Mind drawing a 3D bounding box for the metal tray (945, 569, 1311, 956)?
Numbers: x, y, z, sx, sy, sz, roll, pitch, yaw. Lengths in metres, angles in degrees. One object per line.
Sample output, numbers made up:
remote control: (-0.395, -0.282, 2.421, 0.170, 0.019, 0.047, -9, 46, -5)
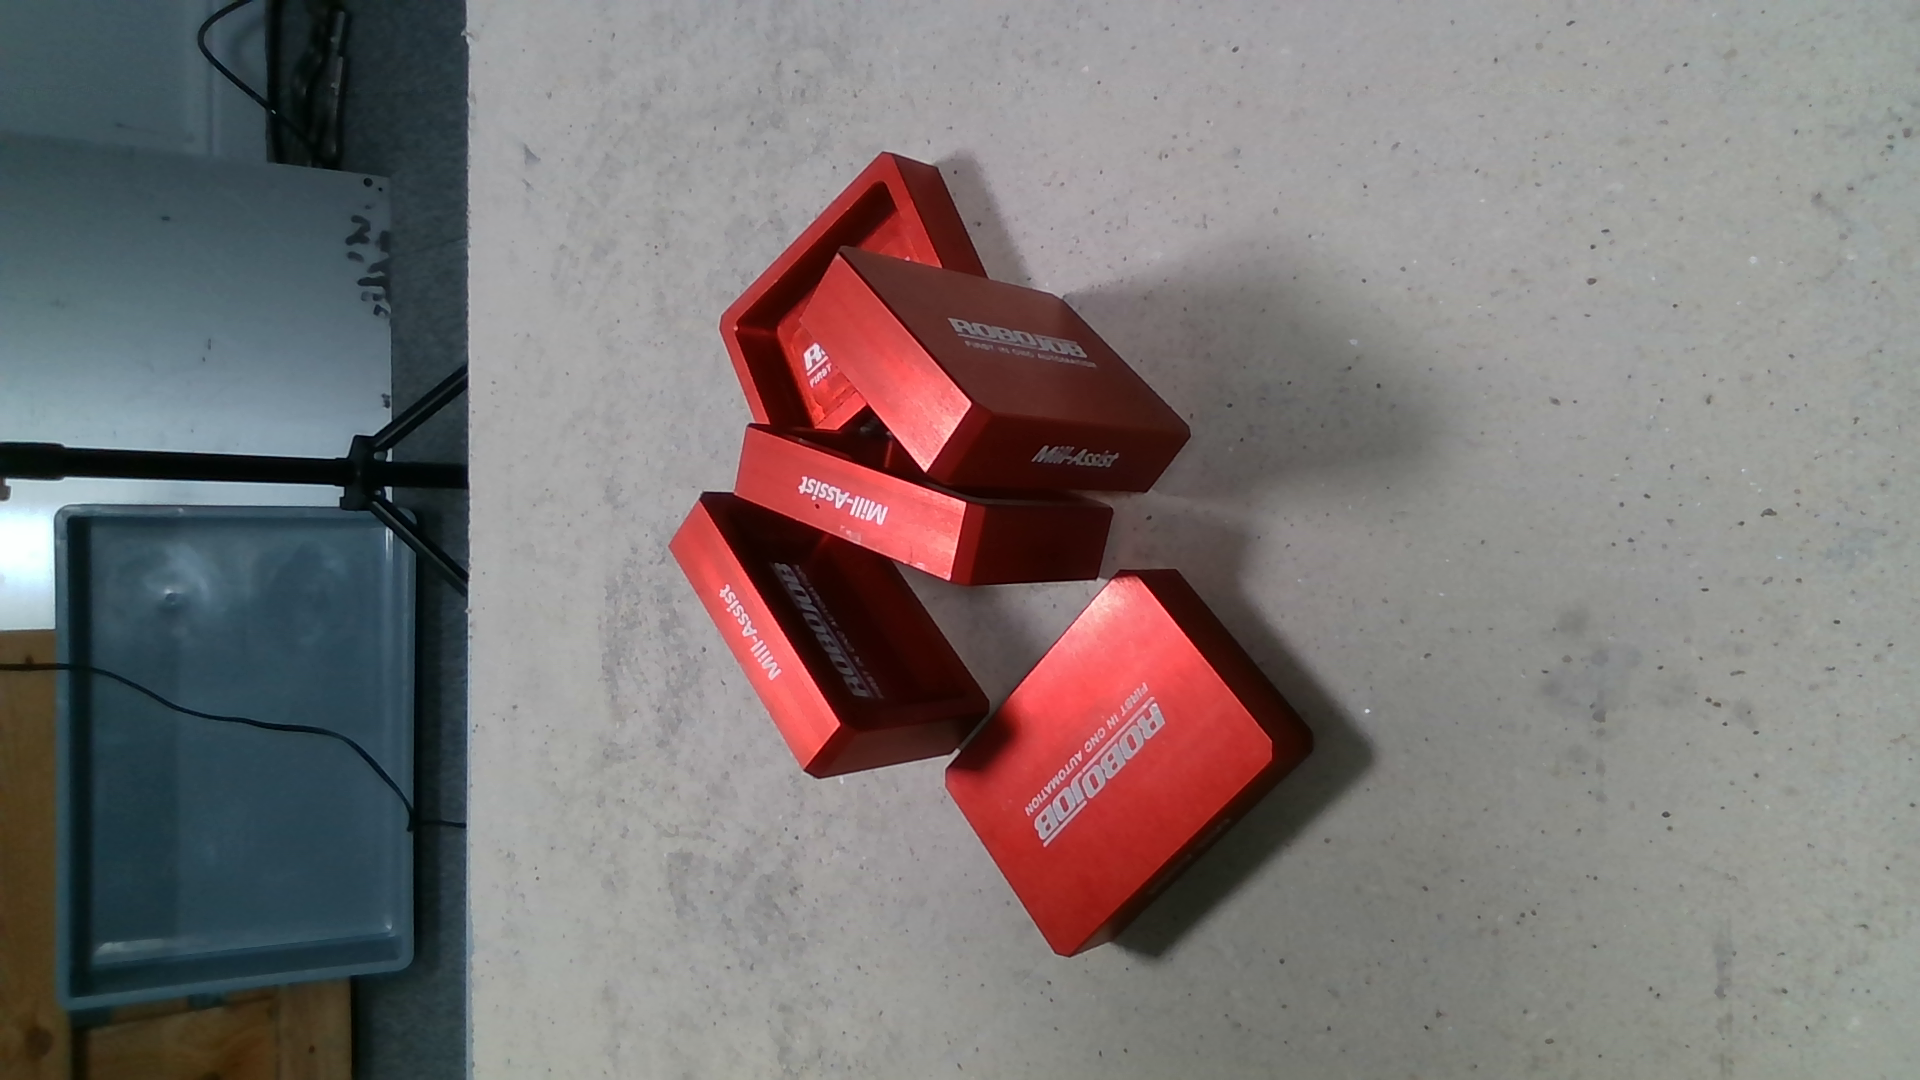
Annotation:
metal tray: (0.060, 0.085, 0.529, 0.130, 0.030, 0.090, -52, 60, 28)

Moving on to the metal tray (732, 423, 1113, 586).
metal tray: (-0.016, -0.016, 0.553, 0.130, 0.090, 0.030, 21, 103, 38)

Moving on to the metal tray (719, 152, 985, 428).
metal tray: (-0.048, -0.097, 0.618, 0.130, 0.030, 0.090, -36, 68, 35)

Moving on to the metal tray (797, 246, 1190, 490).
metal tray: (0.016, -0.060, 0.500, 0.090, 0.130, 0.030, 51, 120, 28)

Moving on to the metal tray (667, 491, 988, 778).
metal tray: (-0.056, 0.036, 0.587, 0.030, 0.090, 0.130, -51, 60, 28)
